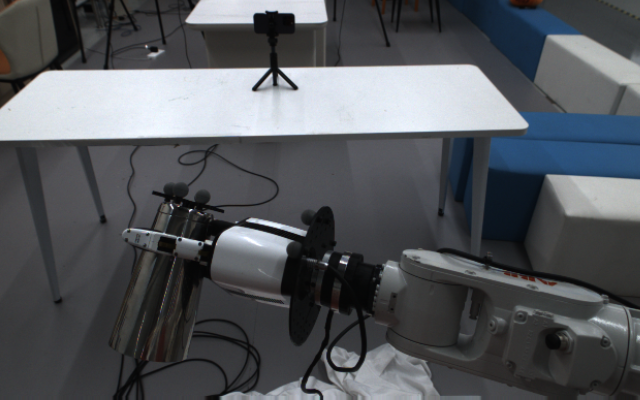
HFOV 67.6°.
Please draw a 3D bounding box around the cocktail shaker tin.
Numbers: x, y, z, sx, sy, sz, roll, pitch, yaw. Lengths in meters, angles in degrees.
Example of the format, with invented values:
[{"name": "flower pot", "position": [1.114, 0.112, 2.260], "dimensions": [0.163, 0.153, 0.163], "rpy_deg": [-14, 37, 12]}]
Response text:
[{"name": "cocktail shaker tin", "position": [-0.180, 0.092, 0.578], "dimensions": [0.093, 0.170, 0.093], "rpy_deg": [15, -5, 1]}]
